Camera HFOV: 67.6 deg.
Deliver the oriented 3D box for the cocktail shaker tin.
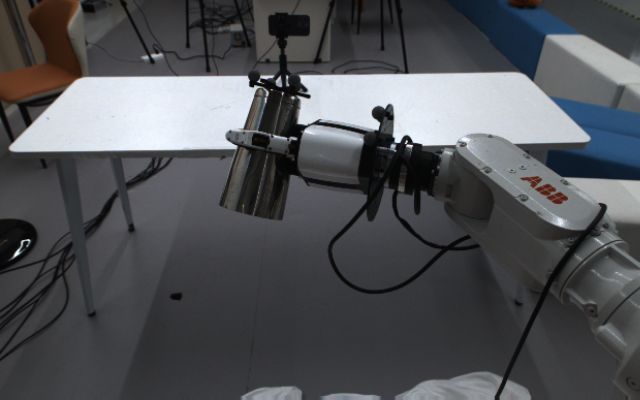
[{"bbox_3d":[-0.079,-0.066,0.684,0.093,0.170,0.093,14,2,0],"label":"cocktail shaker tin"}]
